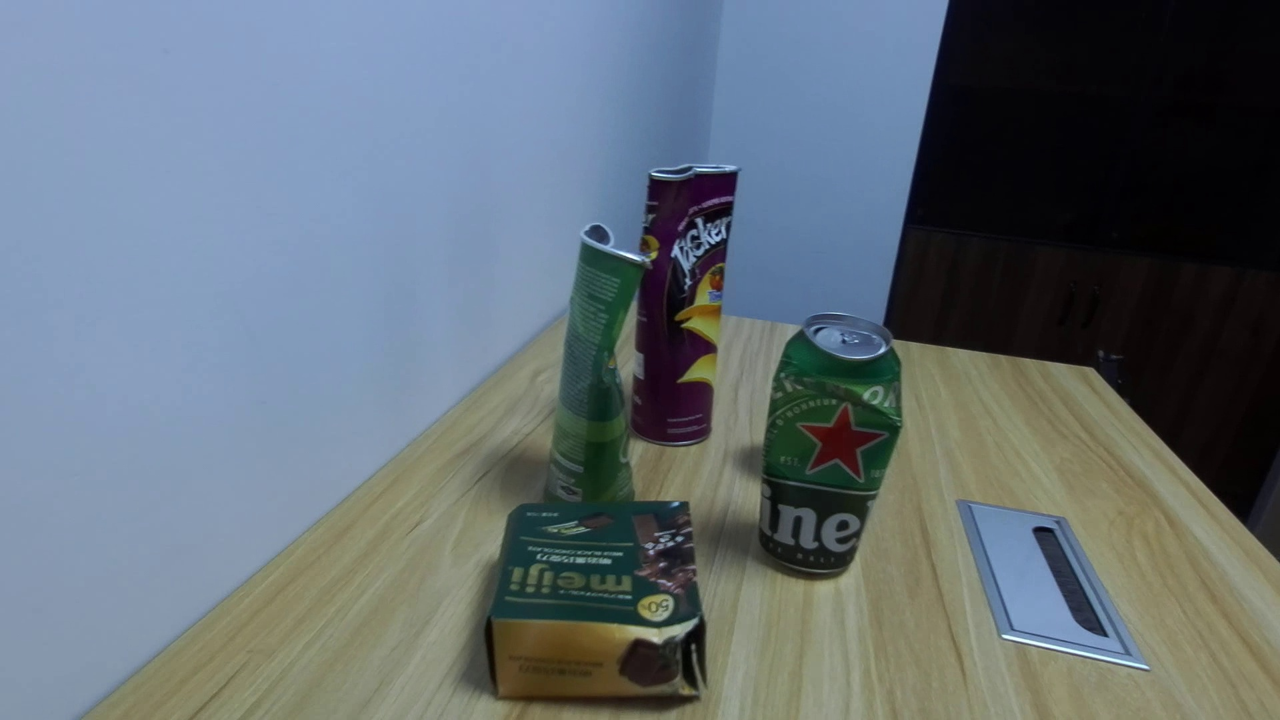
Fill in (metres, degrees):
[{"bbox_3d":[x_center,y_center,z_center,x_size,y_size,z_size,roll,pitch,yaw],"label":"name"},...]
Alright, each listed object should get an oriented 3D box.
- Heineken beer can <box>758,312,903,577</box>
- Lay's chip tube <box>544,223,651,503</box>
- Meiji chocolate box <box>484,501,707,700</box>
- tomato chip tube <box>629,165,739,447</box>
[{"bbox_3d":[0.119,0.059,0.456,0.069,0.168,0.068,-16,31,-35],"label":"Heineken beer can"},{"bbox_3d":[-0.031,0.011,0.499,0.077,0.201,0.069,22,28,33],"label":"Lay's chip tube"},{"bbox_3d":[-0.024,0.132,0.402,0.116,0.058,0.122,1,20,-2],"label":"Meiji chocolate box"},{"bbox_3d":[0.036,-0.044,0.608,0.090,0.235,0.078,3,23,-8],"label":"tomato chip tube"}]
